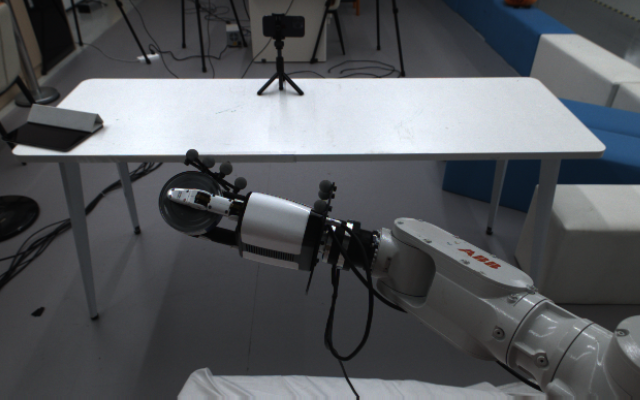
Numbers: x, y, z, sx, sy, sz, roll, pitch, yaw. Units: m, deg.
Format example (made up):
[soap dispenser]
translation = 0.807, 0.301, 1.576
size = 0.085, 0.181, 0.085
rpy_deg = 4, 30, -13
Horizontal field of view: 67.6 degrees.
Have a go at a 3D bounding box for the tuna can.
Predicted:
[tuna can]
translation = -0.174, 0.006, 0.666
size = 0.085, 0.034, 0.085
rpy_deg = 1, 75, -4
